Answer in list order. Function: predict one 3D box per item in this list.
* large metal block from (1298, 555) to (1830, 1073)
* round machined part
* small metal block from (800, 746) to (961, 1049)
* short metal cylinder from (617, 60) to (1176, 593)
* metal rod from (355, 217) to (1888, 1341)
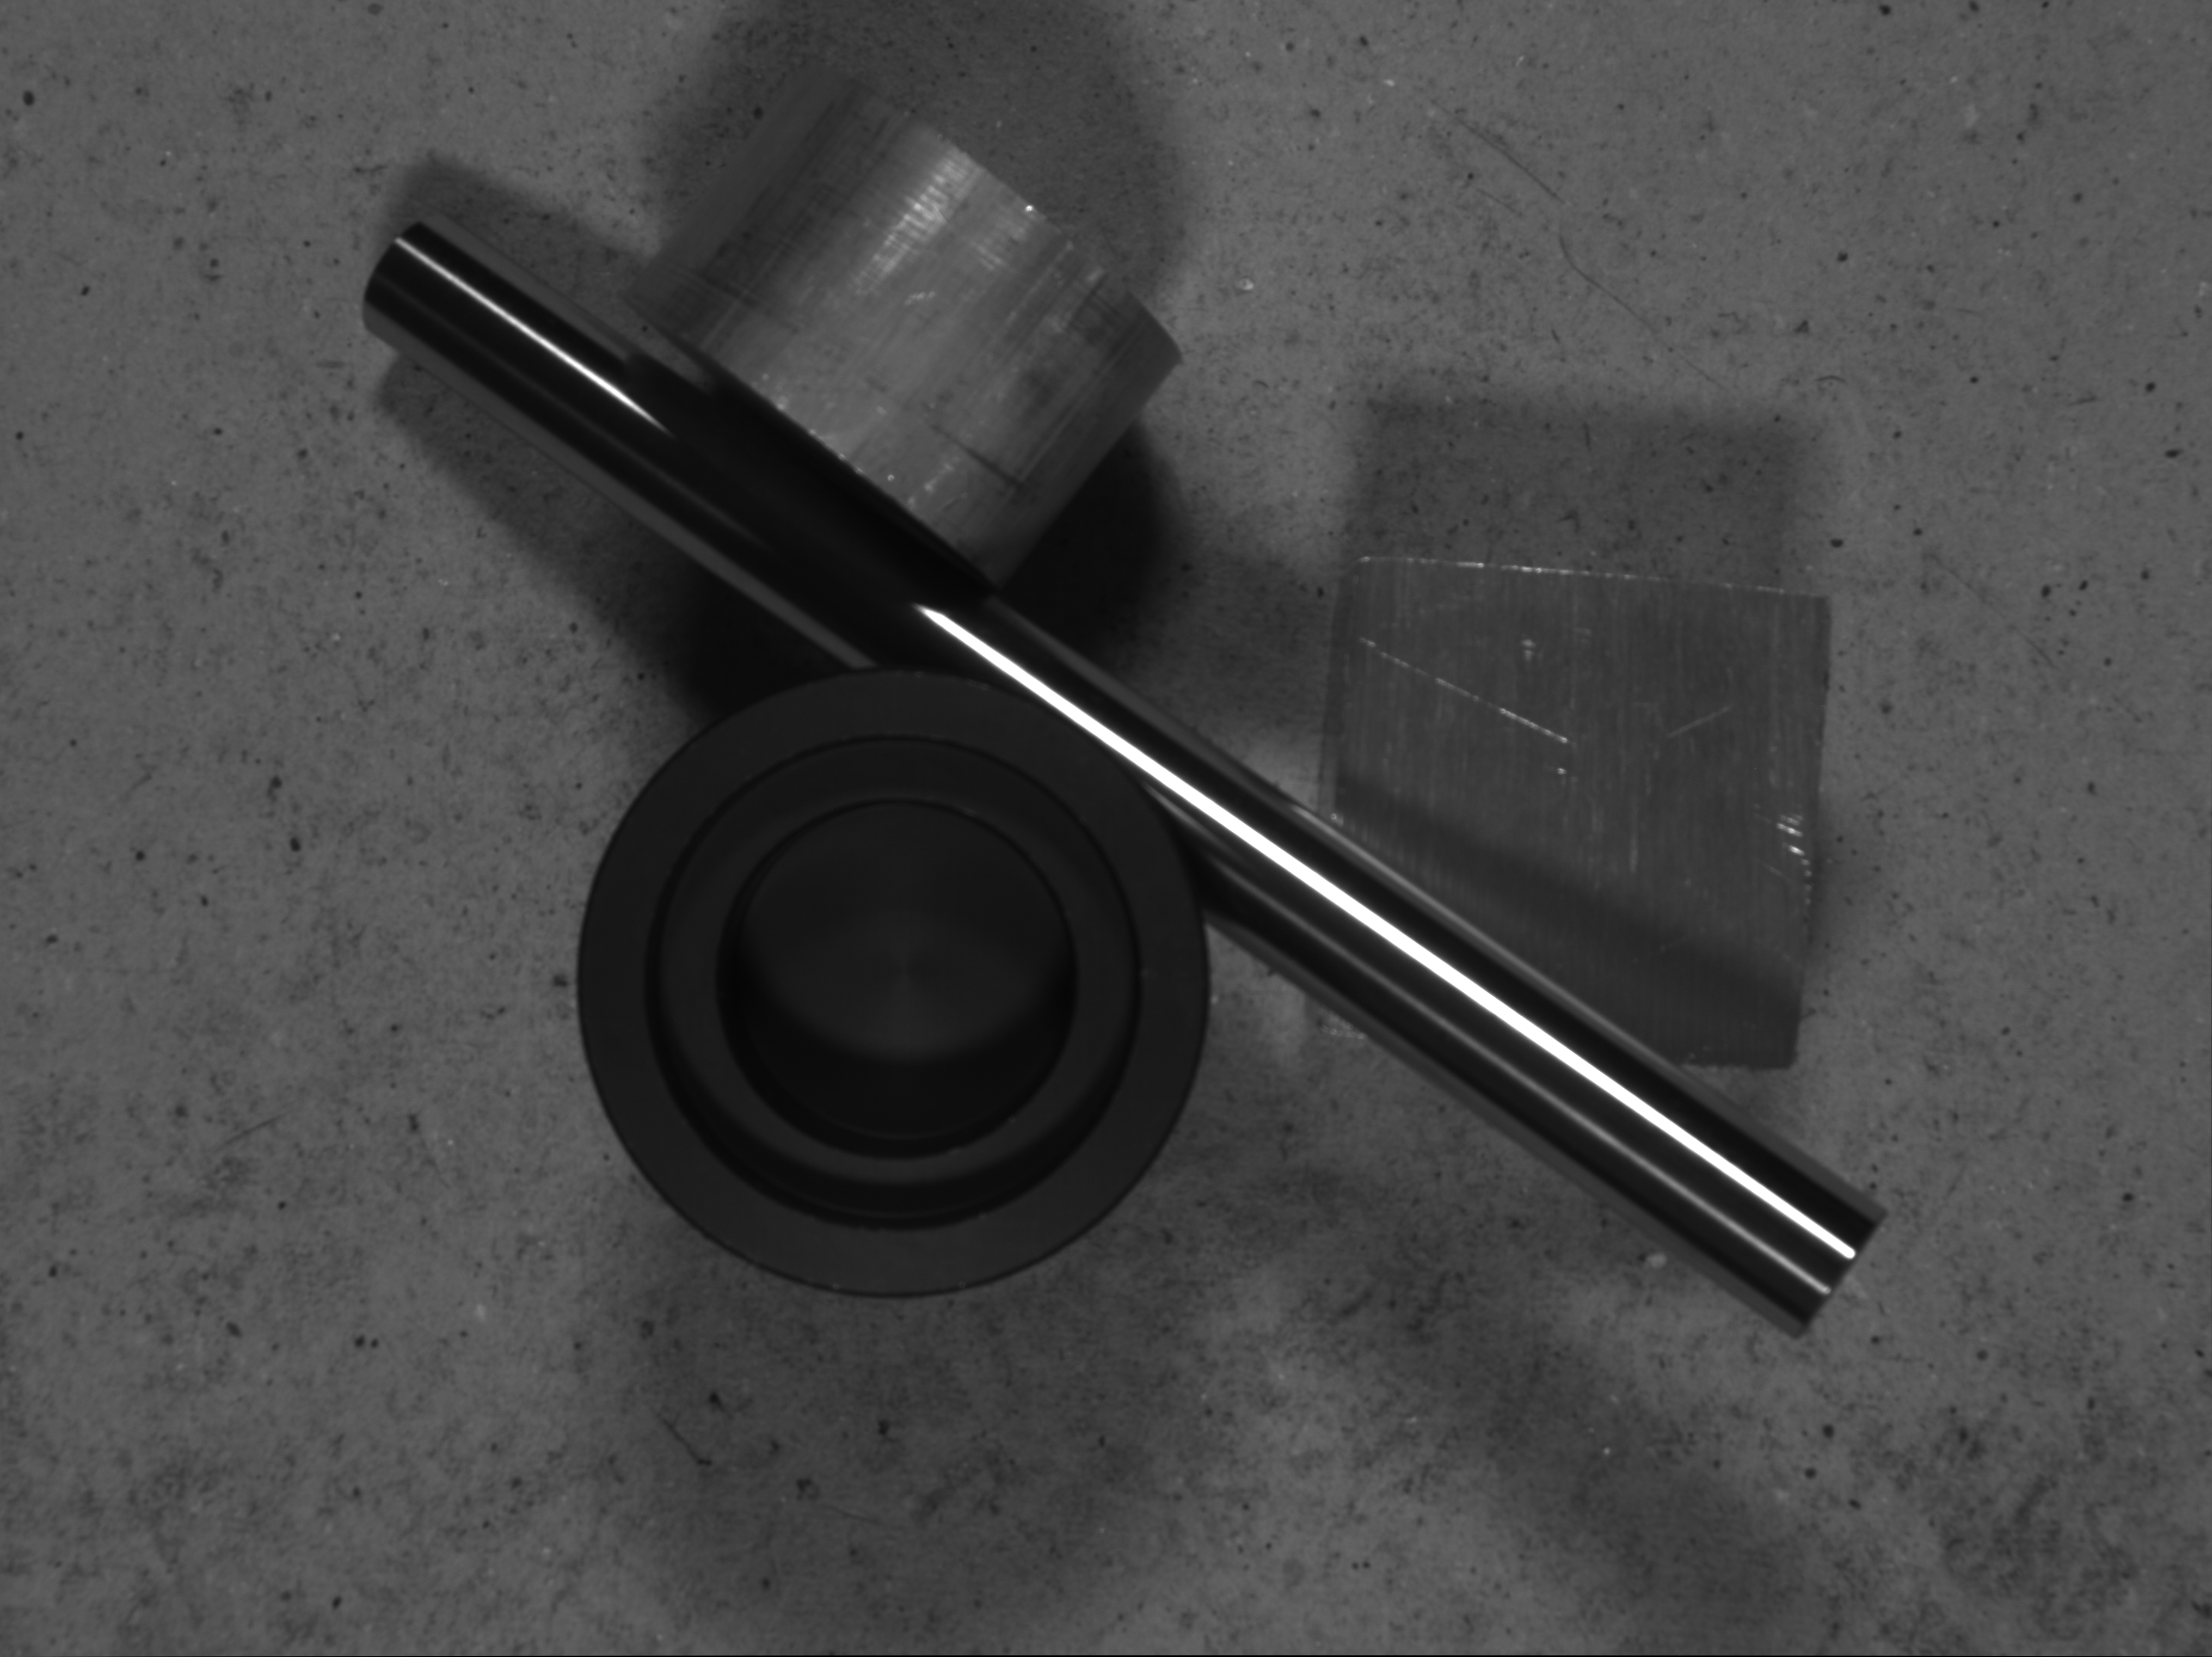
[{"bbox_3d":[0.077,-0.002,0.634,0.080,0.050,0.080,5,90,0],"label":"large metal block"},{"bbox_3d":[-0.034,0.024,0.587,0.098,0.042,0.098,0,91,0],"label":"round machined part"},{"bbox_3d":[-0.038,0.012,0.633,0.025,0.050,0.050,-2,90,0],"label":"small metal block"},{"bbox_3d":[-0.035,-0.084,0.618,0.080,0.080,0.050,38,90,0],"label":"short metal cylinder"},{"bbox_3d":[-0.004,-0.013,0.608,0.300,0.025,0.025,35,90,14],"label":"metal rod"}]
